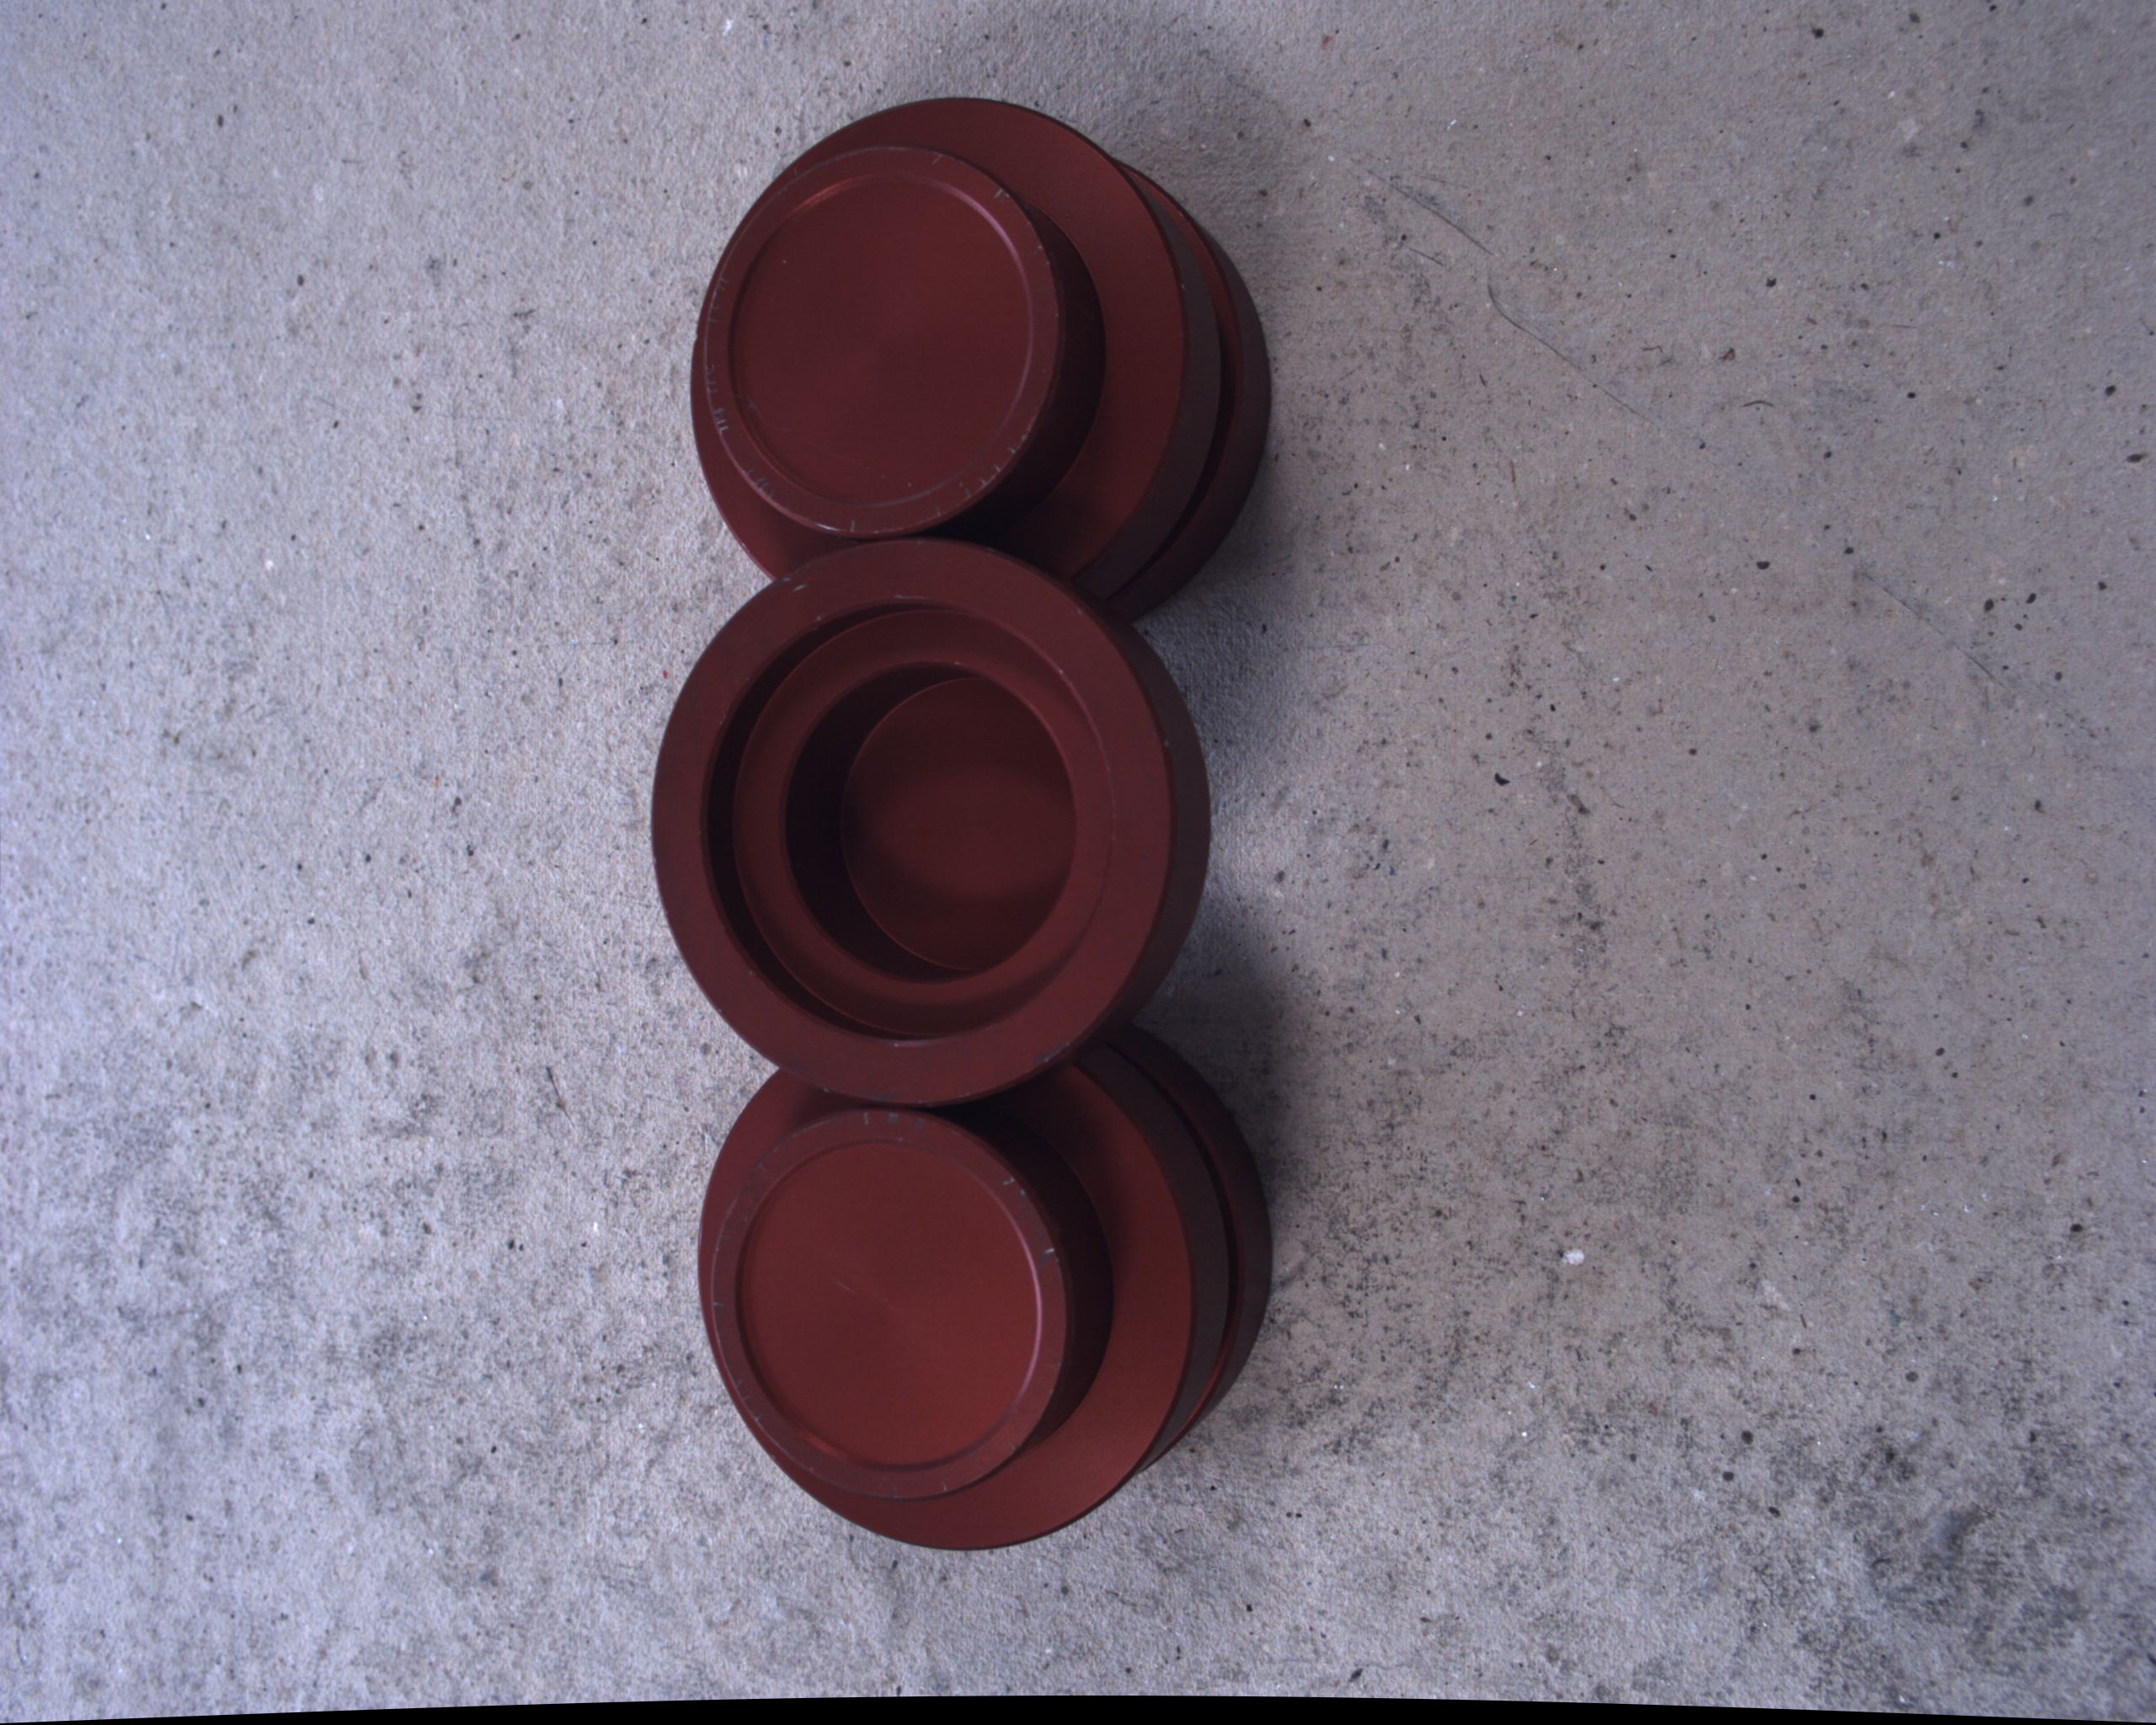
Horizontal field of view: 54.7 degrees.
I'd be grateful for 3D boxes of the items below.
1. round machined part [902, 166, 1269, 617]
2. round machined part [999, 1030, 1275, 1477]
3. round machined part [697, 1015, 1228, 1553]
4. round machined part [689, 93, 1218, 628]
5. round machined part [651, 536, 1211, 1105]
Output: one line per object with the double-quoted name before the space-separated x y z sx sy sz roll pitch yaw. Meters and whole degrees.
"round machined part" -0.016 -0.093 0.406 0.098 0.042 0.097 0 91 21
"round machined part" -0.014 0.077 0.408 0.098 0.042 0.097 0 89 21
"round machined part" -0.026 0.076 0.375 0.098 0.042 0.097 0 91 21
"round machined part" -0.028 -0.090 0.376 0.098 0.042 0.097 0 91 21
"round machined part" -0.023 -0.007 0.375 0.098 0.042 0.097 0 90 20
